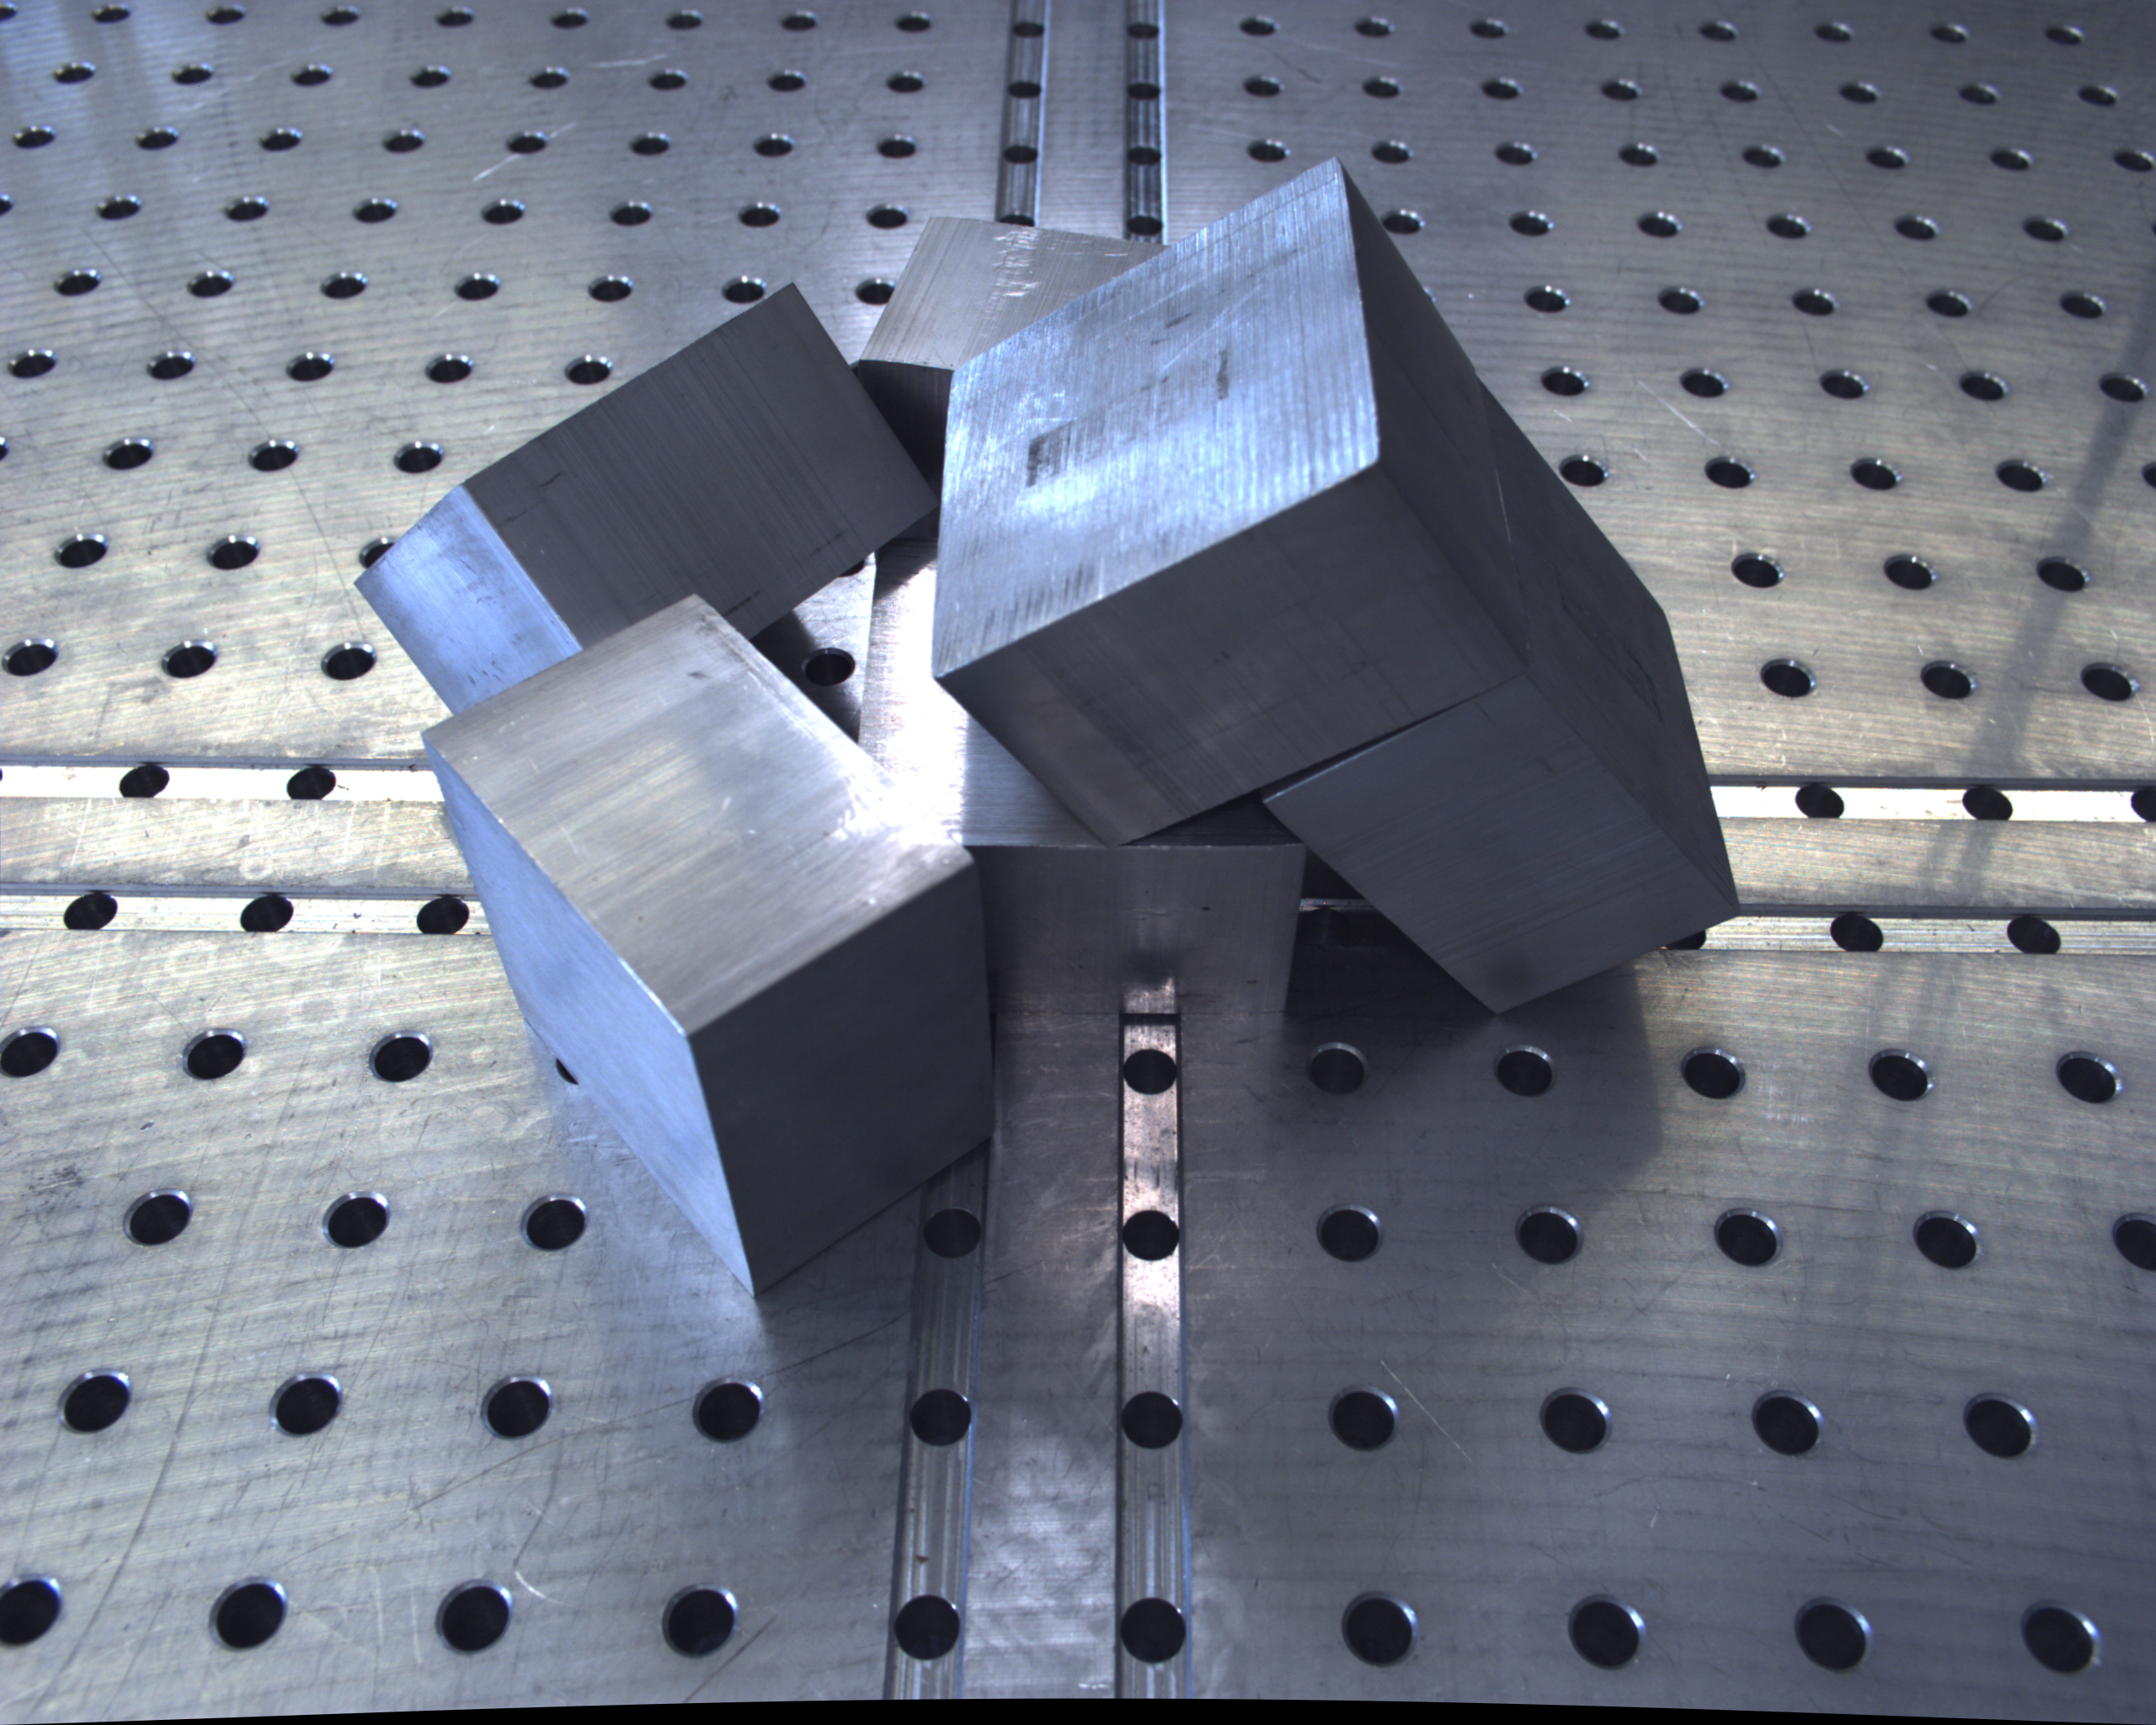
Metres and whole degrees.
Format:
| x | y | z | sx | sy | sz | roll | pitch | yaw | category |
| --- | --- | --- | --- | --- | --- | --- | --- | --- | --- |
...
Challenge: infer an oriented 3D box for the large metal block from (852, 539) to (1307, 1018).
| x | y | z | sx | sy | sz | roll | pitch | yaw | category |
| --- | --- | --- | --- | --- | --- | --- | --- | --- | --- |
| 0.000 | -0.017 | 0.406 | 0.080 | 0.050 | 0.080 | 1 | 50 | 0 | large metal block |

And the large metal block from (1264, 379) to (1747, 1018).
| x | y | z | sx | sy | sz | roll | pitch | yaw | category |
| --- | --- | --- | --- | --- | --- | --- | --- | --- | --- |
| 0.076 | -0.031 | 0.388 | 0.050 | 0.080 | 0.080 | -27 | 43 | 28 | large metal block |

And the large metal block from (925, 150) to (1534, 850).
| x | y | z | sx | sy | sz | roll | pitch | yaw | category |
| --- | --- | --- | --- | --- | --- | --- | --- | --- | --- |
| 0.024 | -0.060 | 0.352 | 0.080 | 0.050 | 0.080 | -23 | 44 | 25 | large metal block |

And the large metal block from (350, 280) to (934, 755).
| x | y | z | sx | sy | sz | roll | pitch | yaw | category |
| --- | --- | --- | --- | --- | --- | --- | --- | --- | --- |
| -0.087 | -0.063 | 0.417 | 0.080 | 0.080 | 0.050 | -41 | 105 | -29 | large metal block |

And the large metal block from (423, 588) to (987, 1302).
| x | y | z | sx | sy | sz | roll | pitch | yaw | category |
| --- | --- | --- | --- | --- | --- | --- | --- | --- | --- |
| -0.061 | 0.014 | 0.358 | 0.050 | 0.080 | 0.080 | -32 | 58 | -25 | large metal block |

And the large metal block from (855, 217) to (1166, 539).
| x | y | z | sx | sy | sz | roll | pitch | yaw | category |
| --- | --- | --- | --- | --- | --- | --- | --- | --- | --- |
| 0.002 | -0.083 | 0.442 | 0.080 | 0.080 | 0.050 | 10 | 51 | 9 | large metal block |
